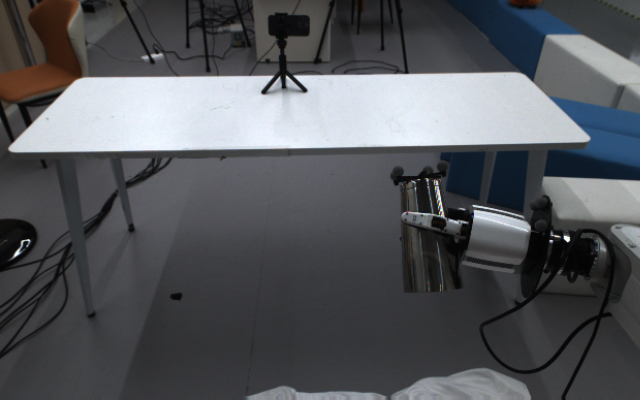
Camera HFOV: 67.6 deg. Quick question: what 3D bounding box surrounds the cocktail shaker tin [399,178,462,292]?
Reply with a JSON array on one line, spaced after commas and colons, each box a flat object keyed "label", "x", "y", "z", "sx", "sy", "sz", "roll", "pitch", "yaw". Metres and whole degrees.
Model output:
[{"label": "cocktail shaker tin", "x": 0.169, "y": 0.055, "z": 0.764, "sx": 0.093, "sy": 0.170, "sz": 0.093, "roll": -6, "pitch": -7, "yaw": -1}]
